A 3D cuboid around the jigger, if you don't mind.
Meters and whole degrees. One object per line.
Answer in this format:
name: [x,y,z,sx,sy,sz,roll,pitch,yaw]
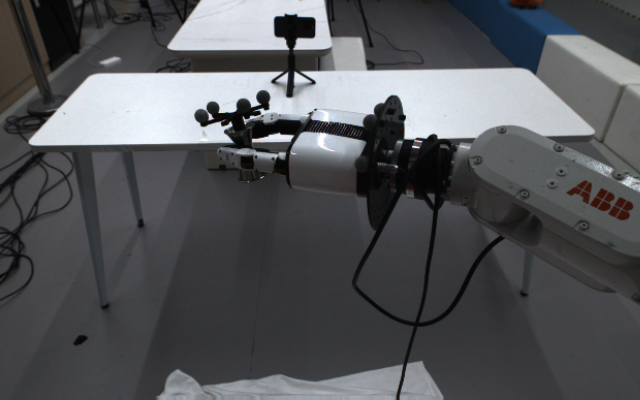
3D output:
jigger: [-0.094,-0.061,0.629,0.043,0.071,0.043,-12,24,5]
